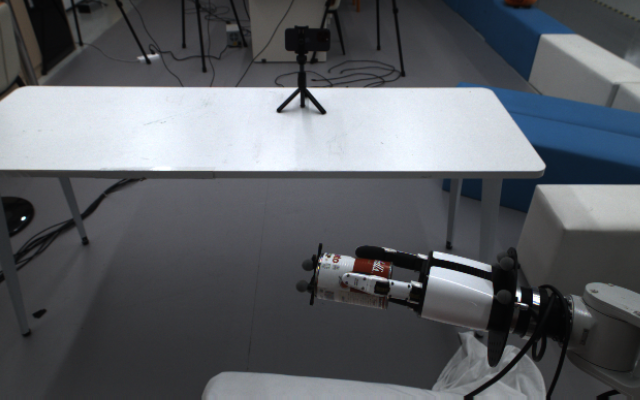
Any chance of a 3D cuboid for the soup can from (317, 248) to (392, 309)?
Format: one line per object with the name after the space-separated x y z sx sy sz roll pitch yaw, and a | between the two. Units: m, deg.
0.051 0.113 0.685 0.101 0.067 0.067 6 35 11 | soup can
